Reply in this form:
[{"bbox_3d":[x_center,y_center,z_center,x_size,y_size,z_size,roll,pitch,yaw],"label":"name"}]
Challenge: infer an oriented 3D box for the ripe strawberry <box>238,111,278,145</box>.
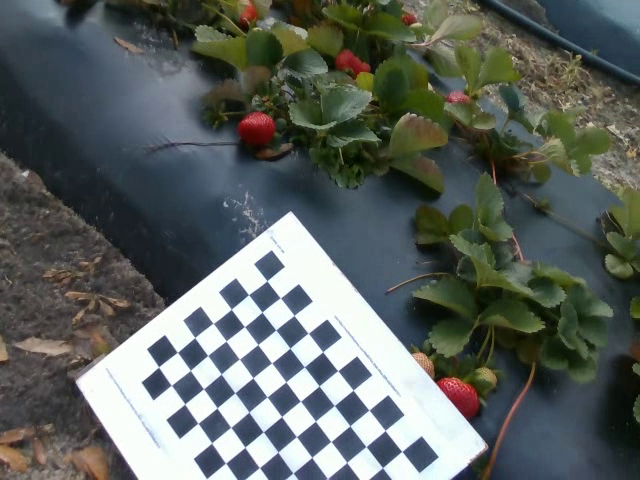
[{"bbox_3d":[-0.084,-0.146,0.769,0.050,0.049,0.053,43,14,14],"label":"ripe strawberry"}]
